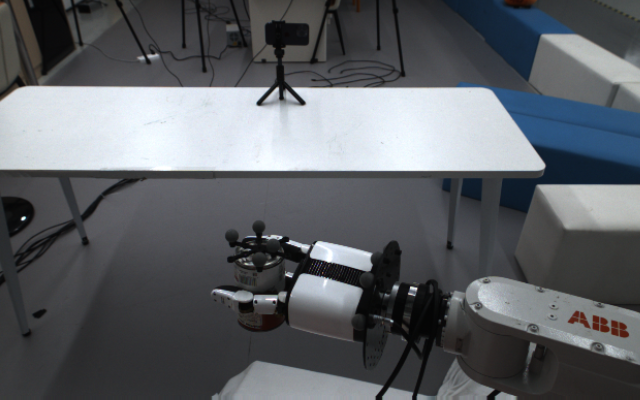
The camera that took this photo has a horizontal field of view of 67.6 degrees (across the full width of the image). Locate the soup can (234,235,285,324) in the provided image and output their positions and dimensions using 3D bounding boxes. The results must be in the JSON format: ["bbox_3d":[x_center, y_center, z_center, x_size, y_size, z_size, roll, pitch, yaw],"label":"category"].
[{"bbox_3d":[-0.077,0.114,0.638,0.067,0.101,0.067,1,25,0],"label":"soup can"}]
